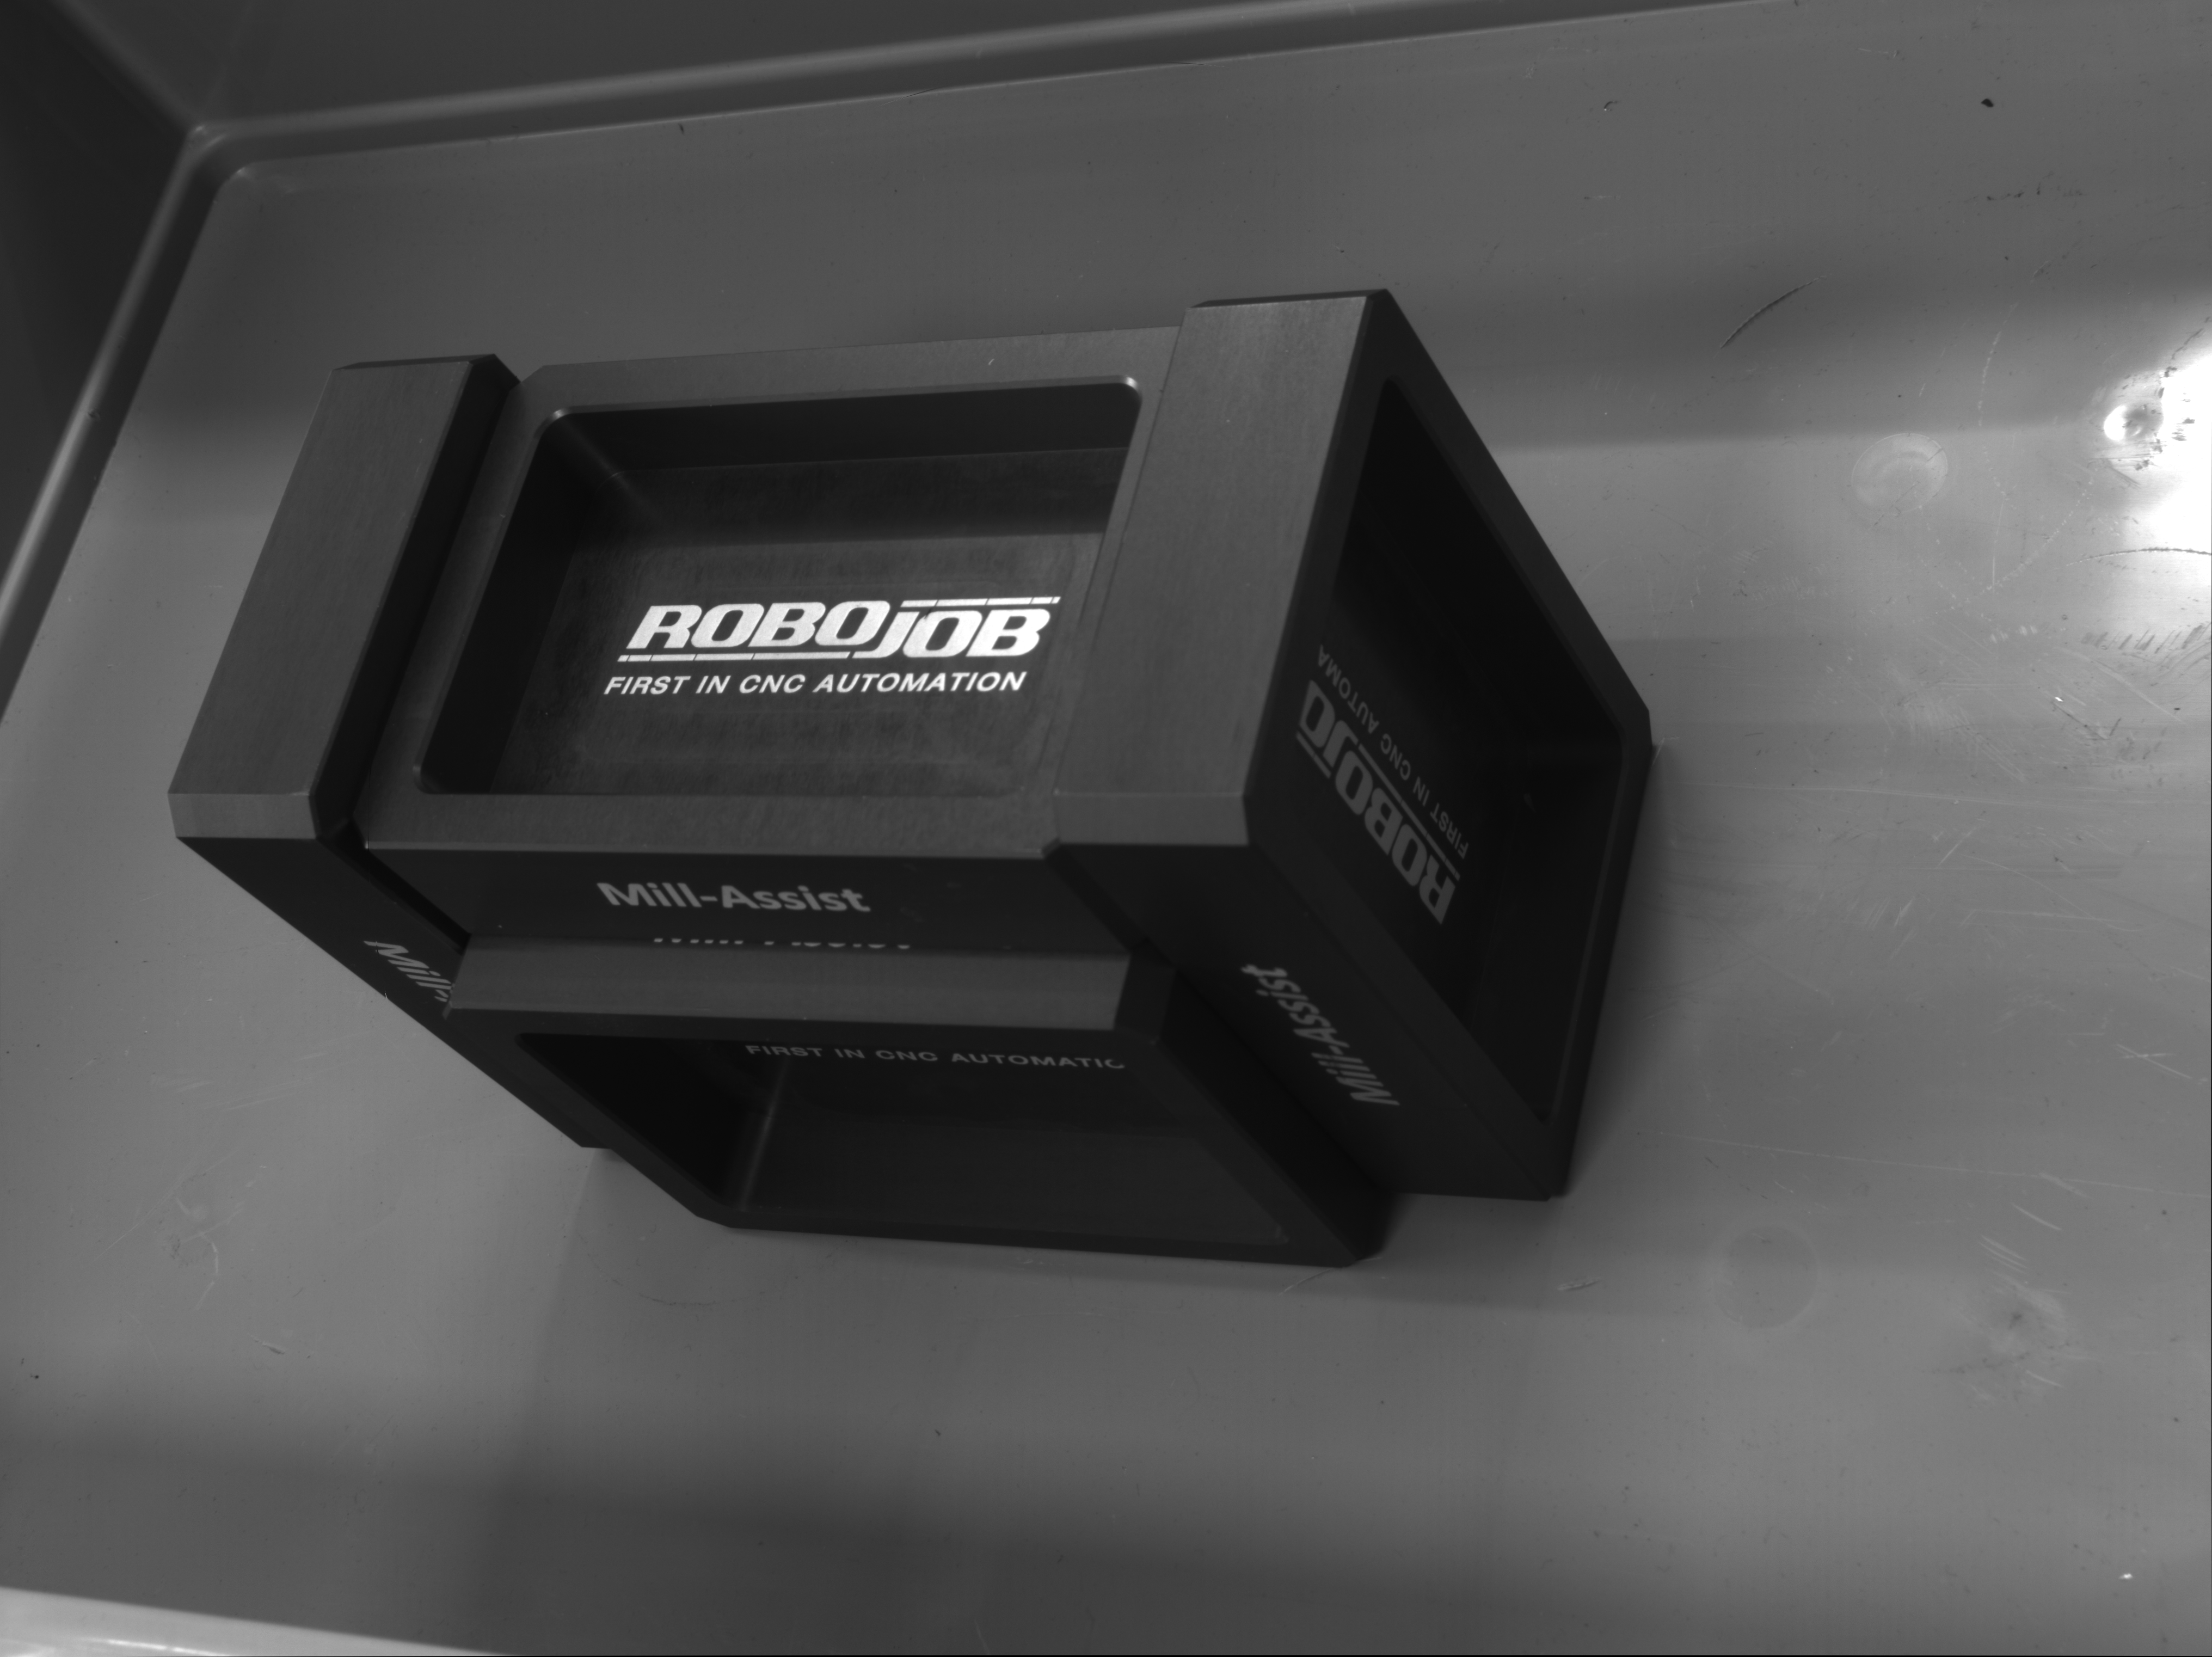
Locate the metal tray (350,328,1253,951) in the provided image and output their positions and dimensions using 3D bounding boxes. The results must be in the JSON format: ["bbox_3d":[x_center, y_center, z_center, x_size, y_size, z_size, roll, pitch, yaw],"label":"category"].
[{"bbox_3d":[-0.045,-0.029,0.565,0.130,0.030,0.090,1,61,29],"label":"metal tray"}]

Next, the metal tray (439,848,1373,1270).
[{"bbox_3d":[-0.030,0.037,0.593,0.130,0.090,0.030,0,61,28],"label":"metal tray"}]

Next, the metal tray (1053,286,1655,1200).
[{"bbox_3d":[0.043,-0.009,0.557,0.030,0.130,0.090,1,62,29],"label":"metal tray"}]

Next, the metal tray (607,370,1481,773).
[{"bbox_3d":[-0.009,-0.042,0.630,0.130,0.090,0.030,0,62,29],"label":"metal tray"}]

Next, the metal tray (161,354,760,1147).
[{"bbox_3d":[-0.099,-0.010,0.635,0.030,0.130,0.090,0,62,29],"label":"metal tray"}]
